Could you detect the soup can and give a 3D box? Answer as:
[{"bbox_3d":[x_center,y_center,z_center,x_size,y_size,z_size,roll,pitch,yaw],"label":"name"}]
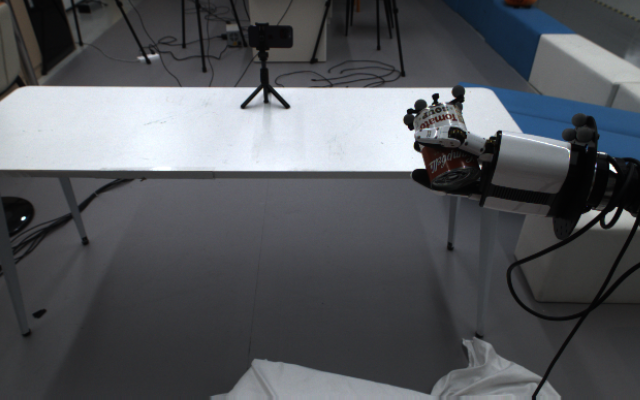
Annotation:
[{"bbox_3d":[0.173,-0.073,0.658,0.067,0.067,0.101,-8,68,-14],"label":"soup can"}]
